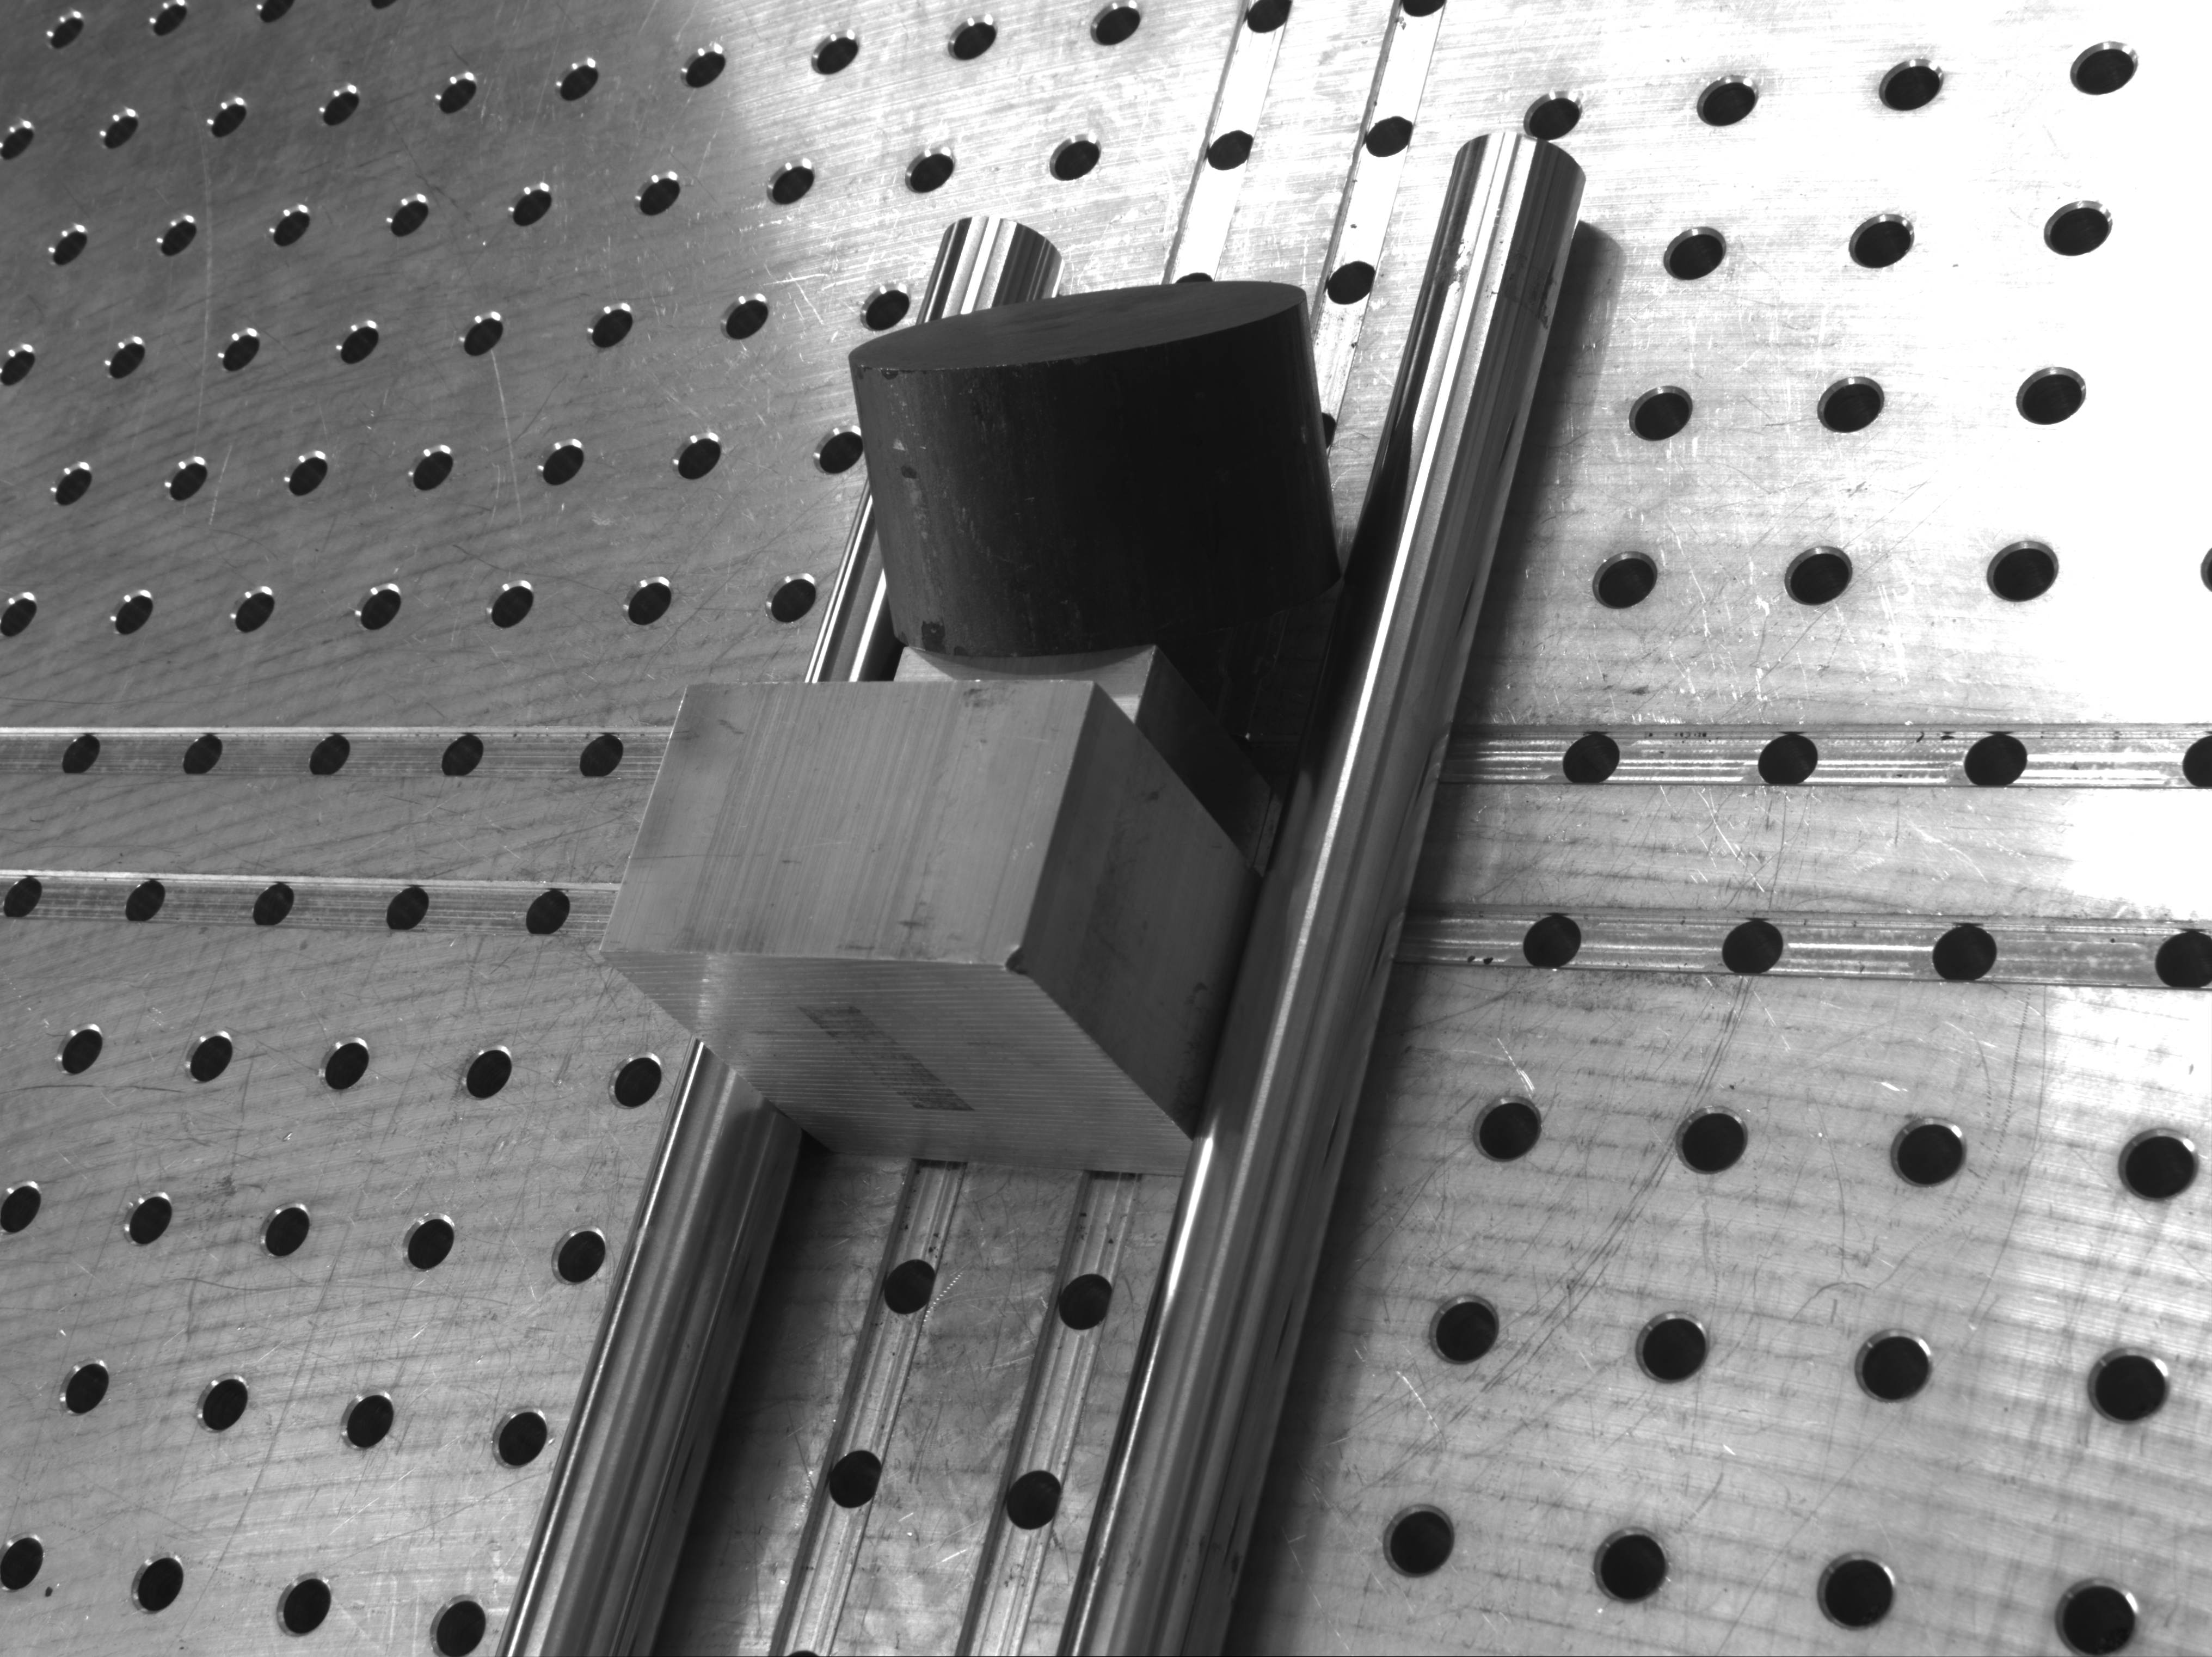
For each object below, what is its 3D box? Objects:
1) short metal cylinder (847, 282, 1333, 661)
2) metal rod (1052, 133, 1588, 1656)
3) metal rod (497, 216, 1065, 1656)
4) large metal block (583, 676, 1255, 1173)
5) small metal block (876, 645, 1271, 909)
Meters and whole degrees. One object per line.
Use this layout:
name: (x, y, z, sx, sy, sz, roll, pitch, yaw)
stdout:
short metal cylinder: (-0.002, -0.064, 0.645, 0.080, 0.050, 0.080, -7, 16, 2)
metal rod: (0.039, 0.010, 0.621, 0.025, 0.025, 0.300, 2, 62, 29)
metal rod: (-0.056, 0.018, 0.668, 0.025, 0.025, 0.300, 1, 62, 29)
large metal block: (-0.026, 0.017, 0.614, 0.080, 0.080, 0.050, 1, 62, 29)
small metal block: (-0.006, -0.008, 0.641, 0.050, 0.050, 0.025, 2, 62, 29)
